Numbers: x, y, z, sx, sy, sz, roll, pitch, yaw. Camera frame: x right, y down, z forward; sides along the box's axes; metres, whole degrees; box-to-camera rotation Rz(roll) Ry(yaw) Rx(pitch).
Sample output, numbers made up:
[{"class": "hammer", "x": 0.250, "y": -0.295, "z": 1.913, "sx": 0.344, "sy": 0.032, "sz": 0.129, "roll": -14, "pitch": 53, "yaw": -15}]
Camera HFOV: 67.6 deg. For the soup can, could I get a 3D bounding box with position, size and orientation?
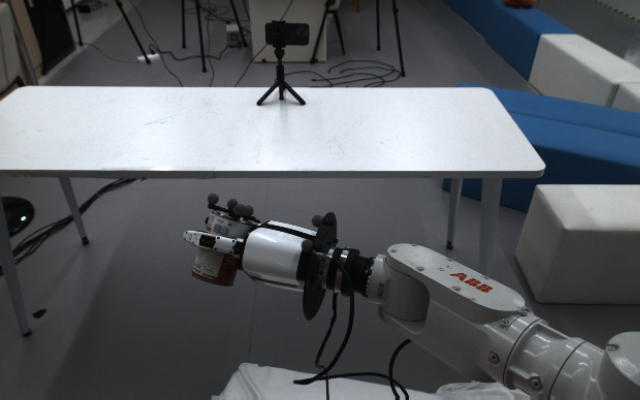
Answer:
[{"class": "soup can", "x": -0.149, "y": 0.074, "z": 0.738, "sx": 0.067, "sy": 0.101, "sz": 0.067, "roll": 18, "pitch": -1, "yaw": 0}]
